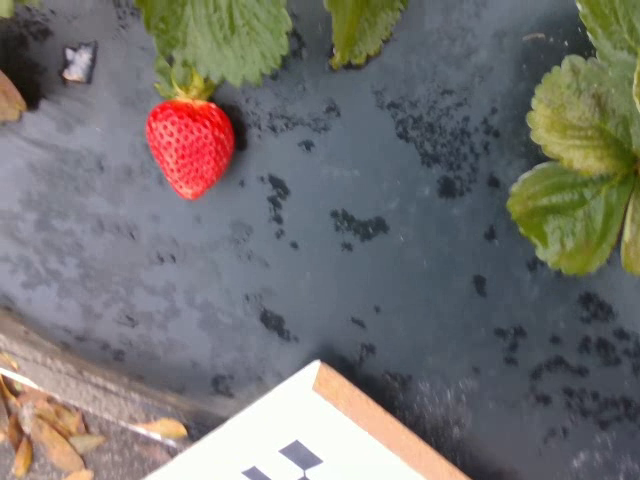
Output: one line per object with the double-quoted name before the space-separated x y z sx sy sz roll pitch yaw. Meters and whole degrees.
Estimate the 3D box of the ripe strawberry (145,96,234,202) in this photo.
"ripe strawberry" -0.064 -0.045 0.319 0.045 0.054 0.048 1 -11 25
